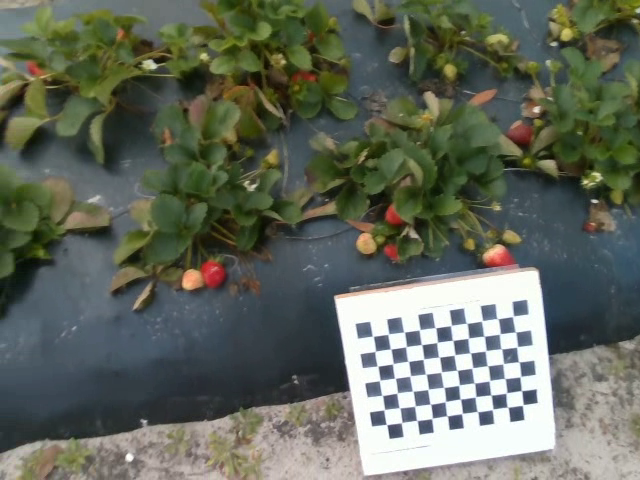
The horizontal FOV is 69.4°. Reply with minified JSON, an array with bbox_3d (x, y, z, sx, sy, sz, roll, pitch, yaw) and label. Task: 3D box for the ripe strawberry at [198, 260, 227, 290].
[{"bbox_3d":[-0.147,0.050,0.620,0.034,0.033,0.042,22,36,-1],"label":"ripe strawberry"}]
